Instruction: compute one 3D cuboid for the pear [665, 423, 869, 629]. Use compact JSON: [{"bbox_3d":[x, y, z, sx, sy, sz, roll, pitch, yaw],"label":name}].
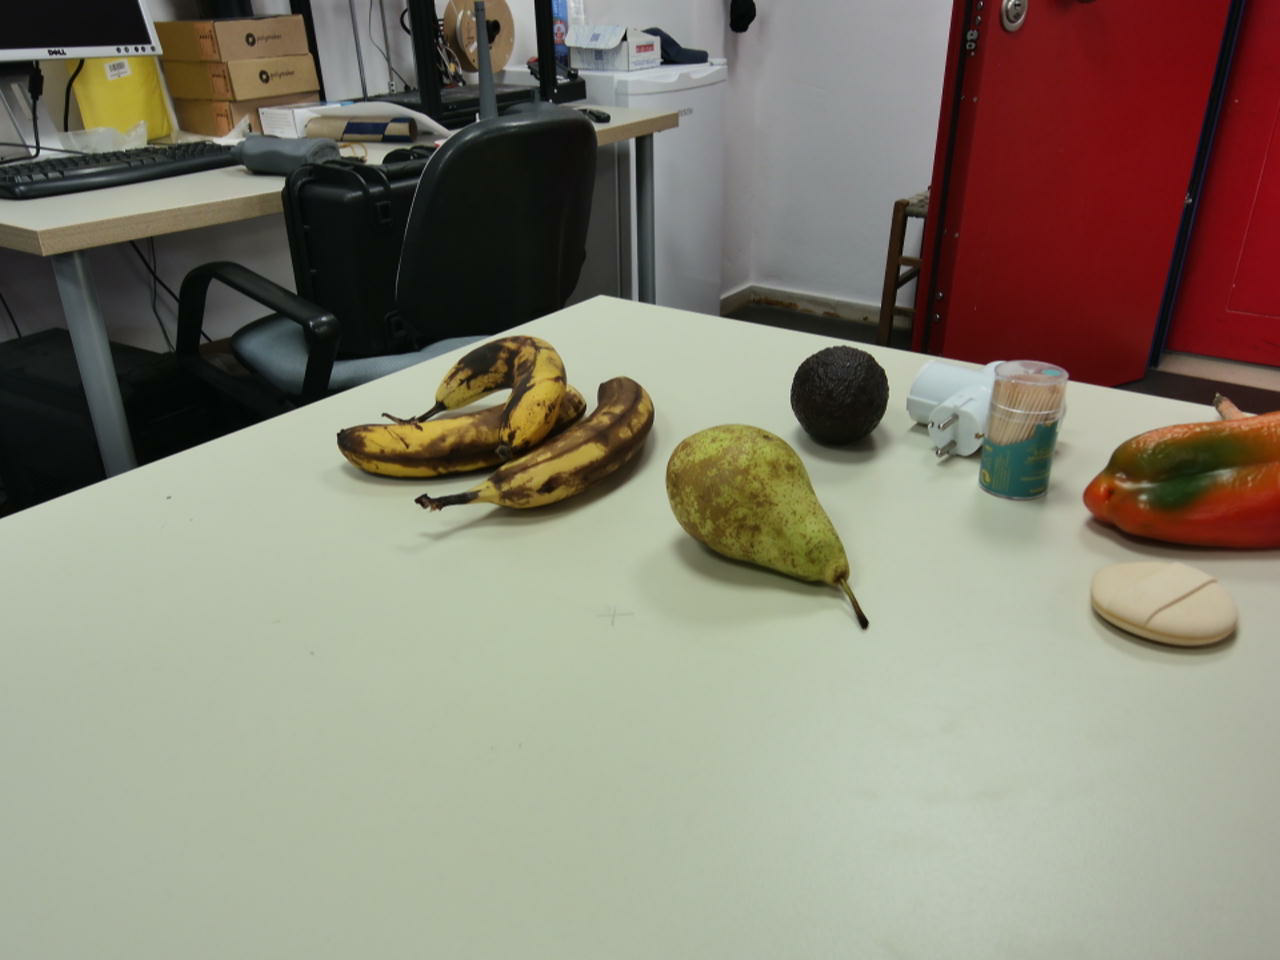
[{"bbox_3d":[0.072,0.012,0.528,0.128,0.075,0.071,14,27,26],"label":"pear"}]
